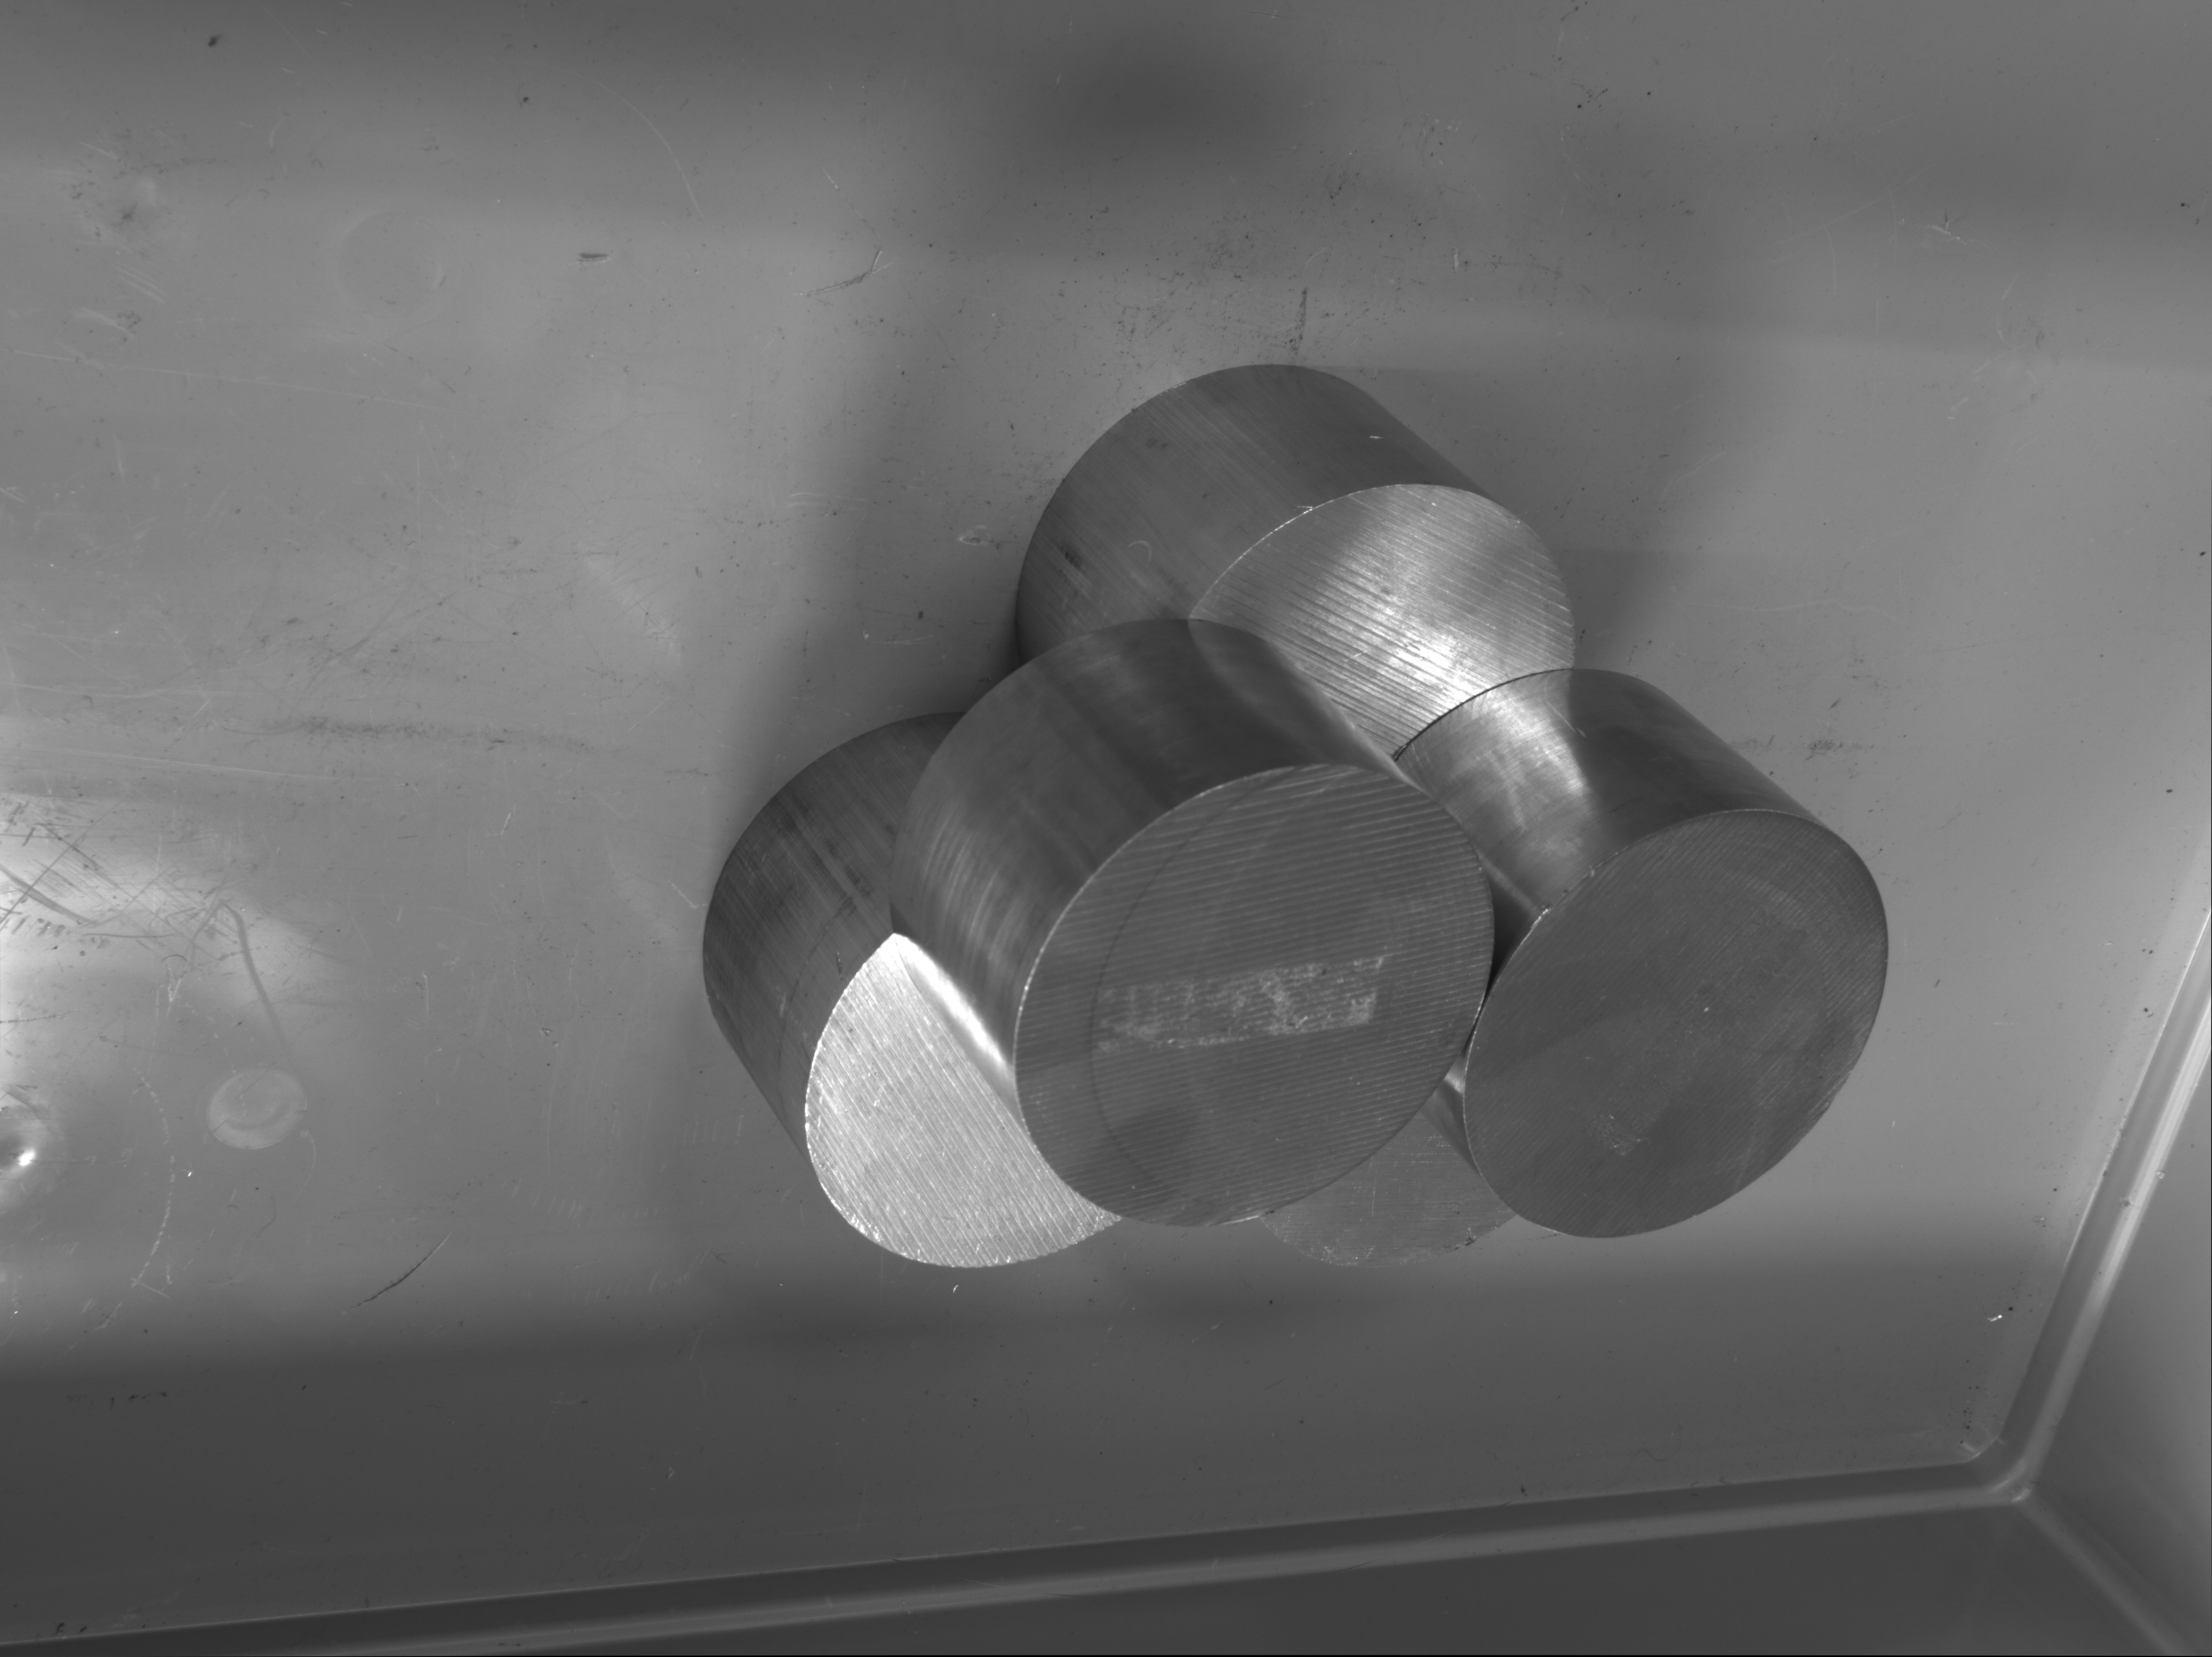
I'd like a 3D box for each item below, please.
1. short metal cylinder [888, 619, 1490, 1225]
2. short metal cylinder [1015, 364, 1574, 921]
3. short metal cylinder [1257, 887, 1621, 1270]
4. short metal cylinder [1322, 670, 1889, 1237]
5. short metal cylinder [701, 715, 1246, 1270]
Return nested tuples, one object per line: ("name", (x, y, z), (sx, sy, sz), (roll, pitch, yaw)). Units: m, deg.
("short metal cylinder", (0.013, 0.014, 0.571), (0.080, 0.050, 0.080), (-14, 124, -21))
("short metal cylinder", (0.031, -0.032, 0.618), (0.080, 0.050, 0.080), (-14, 124, -21))
("short metal cylinder", (0.048, 0.033, 0.665), (0.080, 0.050, 0.080), (-14, 124, -21))
("short metal cylinder", (0.082, 0.021, 0.611), (0.080, 0.050, 0.080), (-14, 124, -21))
("short metal cylinder", (-0.023, 0.028, 0.624), (0.080, 0.050, 0.080), (-14, 124, -21))
